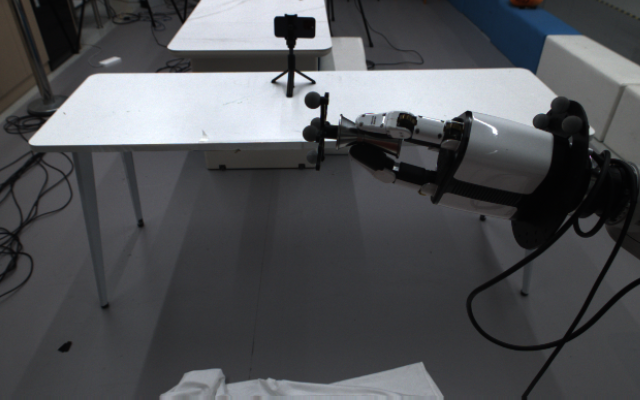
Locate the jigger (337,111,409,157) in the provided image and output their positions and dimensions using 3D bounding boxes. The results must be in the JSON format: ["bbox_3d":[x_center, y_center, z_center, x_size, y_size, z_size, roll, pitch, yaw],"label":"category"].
[{"bbox_3d":[0.061,-0.074,0.530,0.071,0.043,0.043,5,35,3],"label":"jigger"}]
